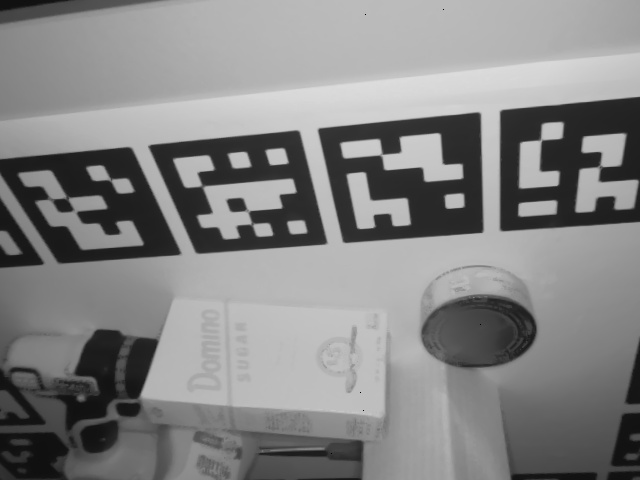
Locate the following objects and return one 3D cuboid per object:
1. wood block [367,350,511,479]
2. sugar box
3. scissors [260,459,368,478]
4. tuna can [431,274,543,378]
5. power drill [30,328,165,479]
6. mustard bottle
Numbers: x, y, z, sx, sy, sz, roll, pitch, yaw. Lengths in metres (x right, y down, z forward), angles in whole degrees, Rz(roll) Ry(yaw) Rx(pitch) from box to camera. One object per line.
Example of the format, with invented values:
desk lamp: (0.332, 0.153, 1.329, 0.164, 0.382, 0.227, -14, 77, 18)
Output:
wood block: (0.099, 0.200, 0.562, 0.090, 0.208, 0.090, -28, 120, 24)
sugar box: (-0.034, 0.099, 0.553, 0.176, 0.094, 0.045, 7, 132, 1)
scissors: (0.039, 0.228, 0.698, 0.202, 0.016, 0.087, -2, 132, 5)
tuna can: (0.131, 0.068, 0.549, 0.086, 0.034, 0.085, 2, 128, 4)
power drill: (-0.162, 0.164, 0.635, 0.185, 0.058, 0.185, 7, 122, -2)
mustard bottle: (-0.113, 0.238, 0.615, 0.097, 0.193, 0.057, 38, 122, -21)
